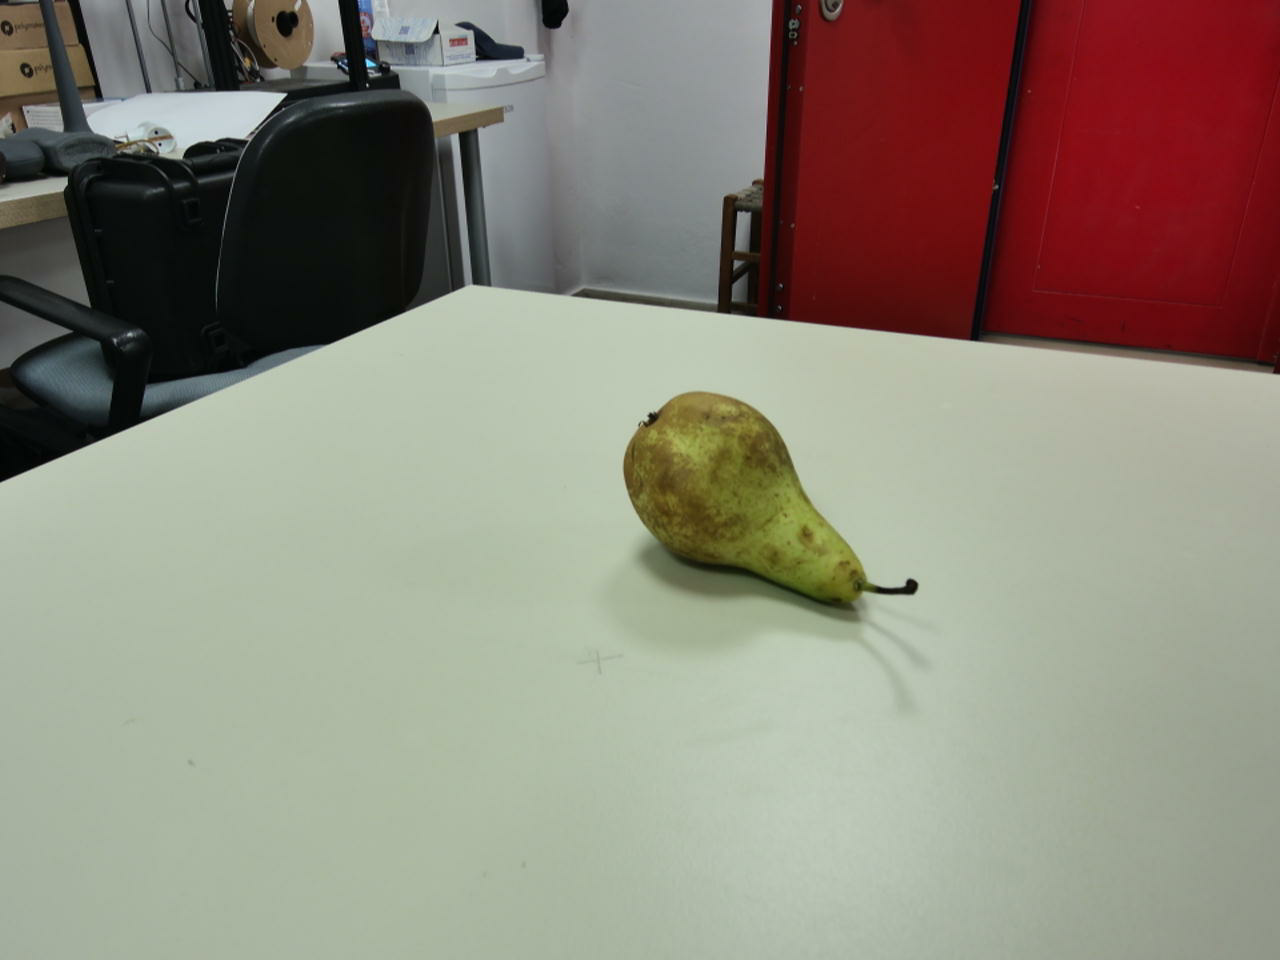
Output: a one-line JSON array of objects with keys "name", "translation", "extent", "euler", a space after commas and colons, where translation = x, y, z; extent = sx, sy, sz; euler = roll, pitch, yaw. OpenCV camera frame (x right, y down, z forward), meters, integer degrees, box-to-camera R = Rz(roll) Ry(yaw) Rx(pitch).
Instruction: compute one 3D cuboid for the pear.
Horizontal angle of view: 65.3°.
[{"name": "pear", "translation": [0.059, 0.006, 0.423], "extent": [0.144, 0.075, 0.071], "euler": [14, 28, 30]}]
